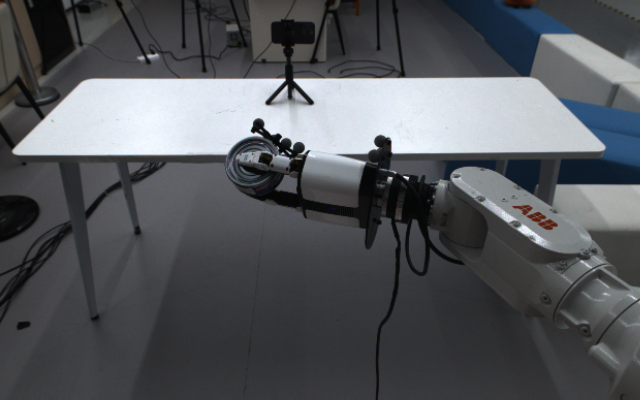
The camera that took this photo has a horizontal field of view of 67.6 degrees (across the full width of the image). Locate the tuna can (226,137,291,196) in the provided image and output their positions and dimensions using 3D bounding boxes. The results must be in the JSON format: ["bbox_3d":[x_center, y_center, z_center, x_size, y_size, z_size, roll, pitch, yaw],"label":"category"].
[{"bbox_3d":[-0.094,-0.045,0.720,0.085,0.034,0.085,-4,69,10],"label":"tuna can"}]
